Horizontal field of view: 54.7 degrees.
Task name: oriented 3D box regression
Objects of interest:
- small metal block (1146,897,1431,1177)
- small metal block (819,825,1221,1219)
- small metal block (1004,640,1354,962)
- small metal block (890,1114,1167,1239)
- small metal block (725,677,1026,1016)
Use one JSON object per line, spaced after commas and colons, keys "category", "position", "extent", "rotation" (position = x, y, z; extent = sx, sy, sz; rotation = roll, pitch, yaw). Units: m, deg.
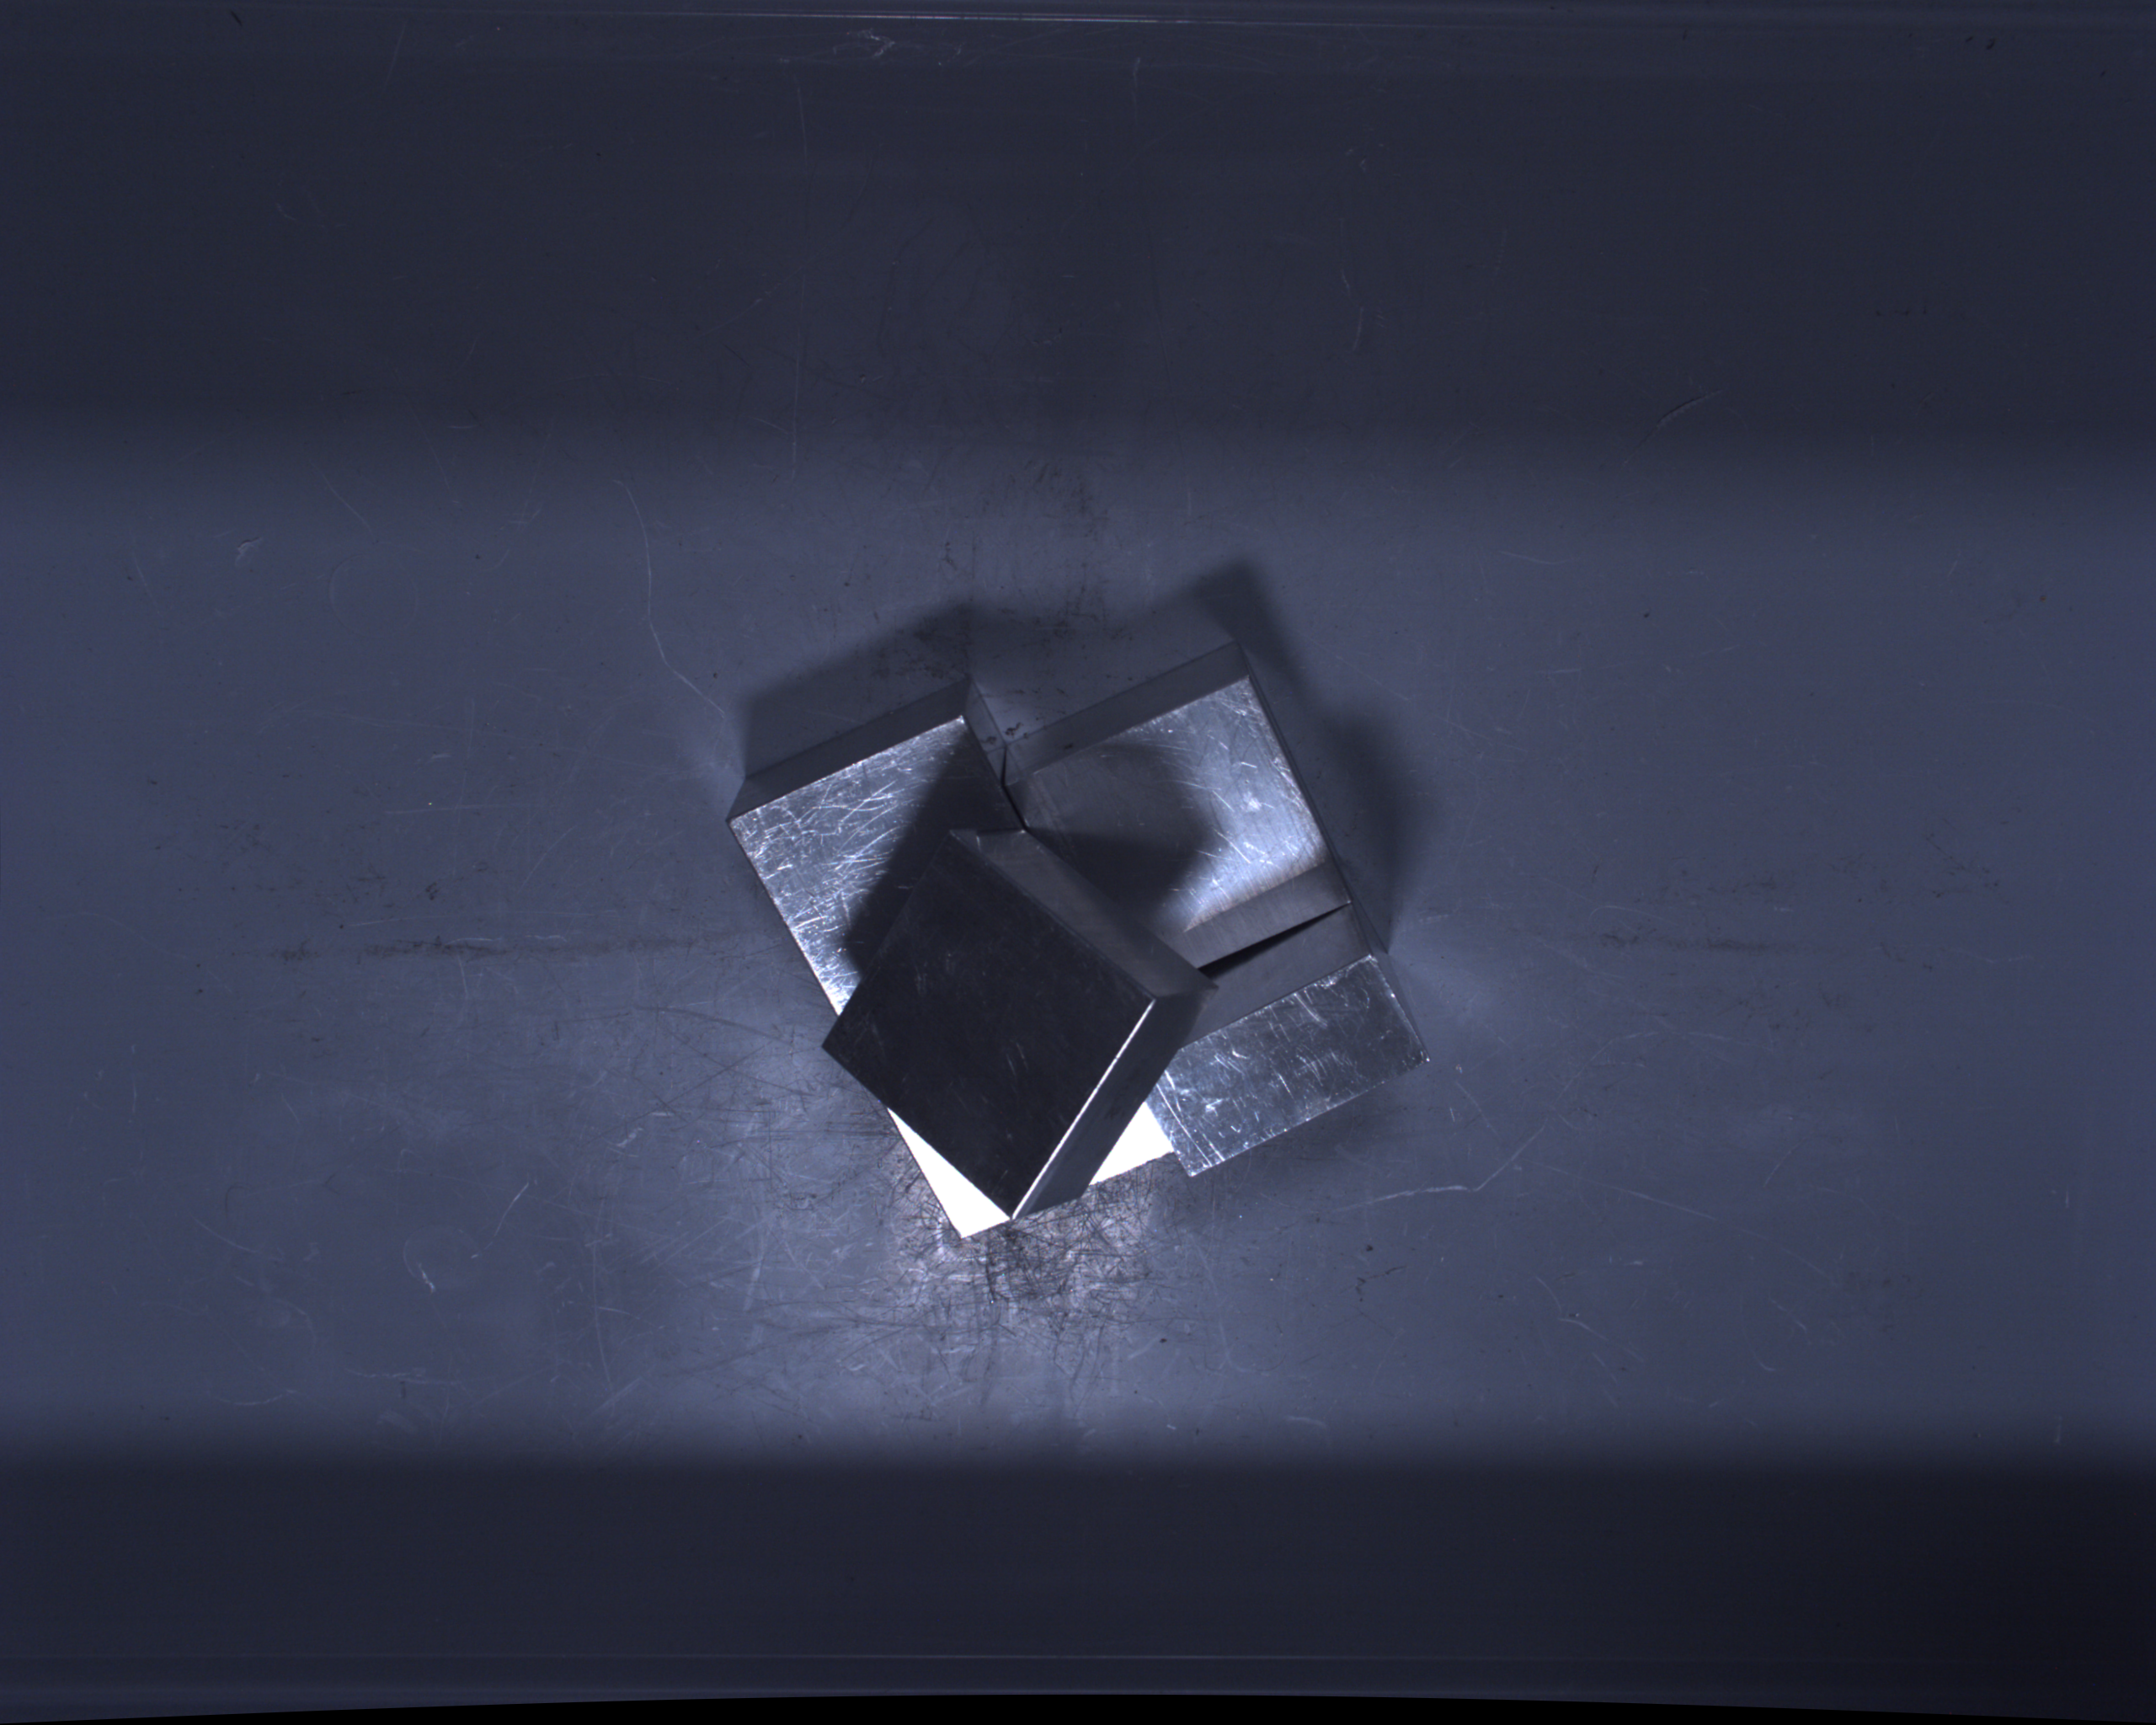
{"category": "small metal block", "position": [0.036, 0.029, 0.407], "extent": [0.050, 0.050, 0.025], "rotation": [-27, 108, 8]}
{"category": "small metal block", "position": [-0.011, 0.028, 0.380], "extent": [0.050, 0.025, 0.050], "rotation": [39, 108, 22]}
{"category": "small metal block", "position": [0.020, -0.008, 0.407], "extent": [0.050, 0.025, 0.050], "rotation": [-24, 109, 8]}
{"category": "small metal block", "position": [-0.012, 0.041, 0.425], "extent": [0.050, 0.025, 0.050], "rotation": [-24, 109, 8]}
{"category": "small metal block", "position": [-0.033, -0.001, 0.409], "extent": [0.050, 0.025, 0.050], "rotation": [-24, 109, 8]}
